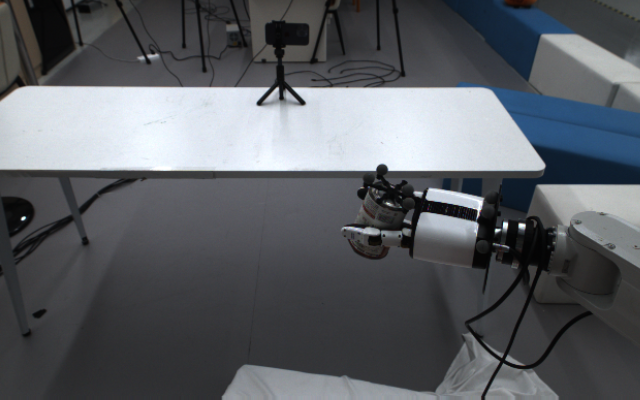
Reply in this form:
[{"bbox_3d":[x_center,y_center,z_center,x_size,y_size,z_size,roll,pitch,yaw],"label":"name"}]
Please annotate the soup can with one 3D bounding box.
[{"bbox_3d":[0.090,0.032,0.736,0.067,0.101,0.067,13,35,-9],"label":"soup can"}]
